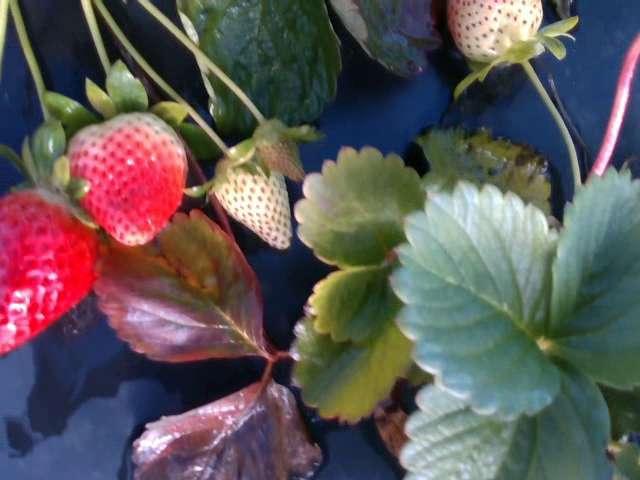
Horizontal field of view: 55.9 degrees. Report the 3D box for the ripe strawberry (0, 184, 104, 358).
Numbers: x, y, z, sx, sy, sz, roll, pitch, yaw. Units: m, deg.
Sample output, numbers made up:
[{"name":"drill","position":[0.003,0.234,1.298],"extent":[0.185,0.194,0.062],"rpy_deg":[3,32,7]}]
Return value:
[{"name":"ripe strawberry","position":[-0.094,0.012,0.186],"extent":[0.044,0.055,0.042],"rpy_deg":[-9,-40,29]}]
